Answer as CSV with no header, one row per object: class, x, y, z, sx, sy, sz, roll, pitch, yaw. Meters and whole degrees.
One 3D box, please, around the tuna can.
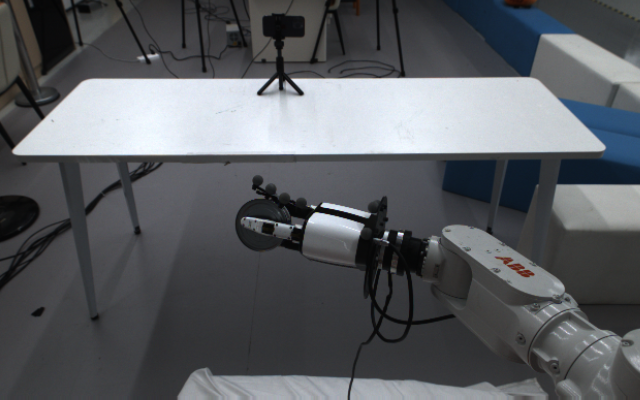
tuna can,-0.089,0.040,0.776,0.085,0.085,0.034,10,4,11
